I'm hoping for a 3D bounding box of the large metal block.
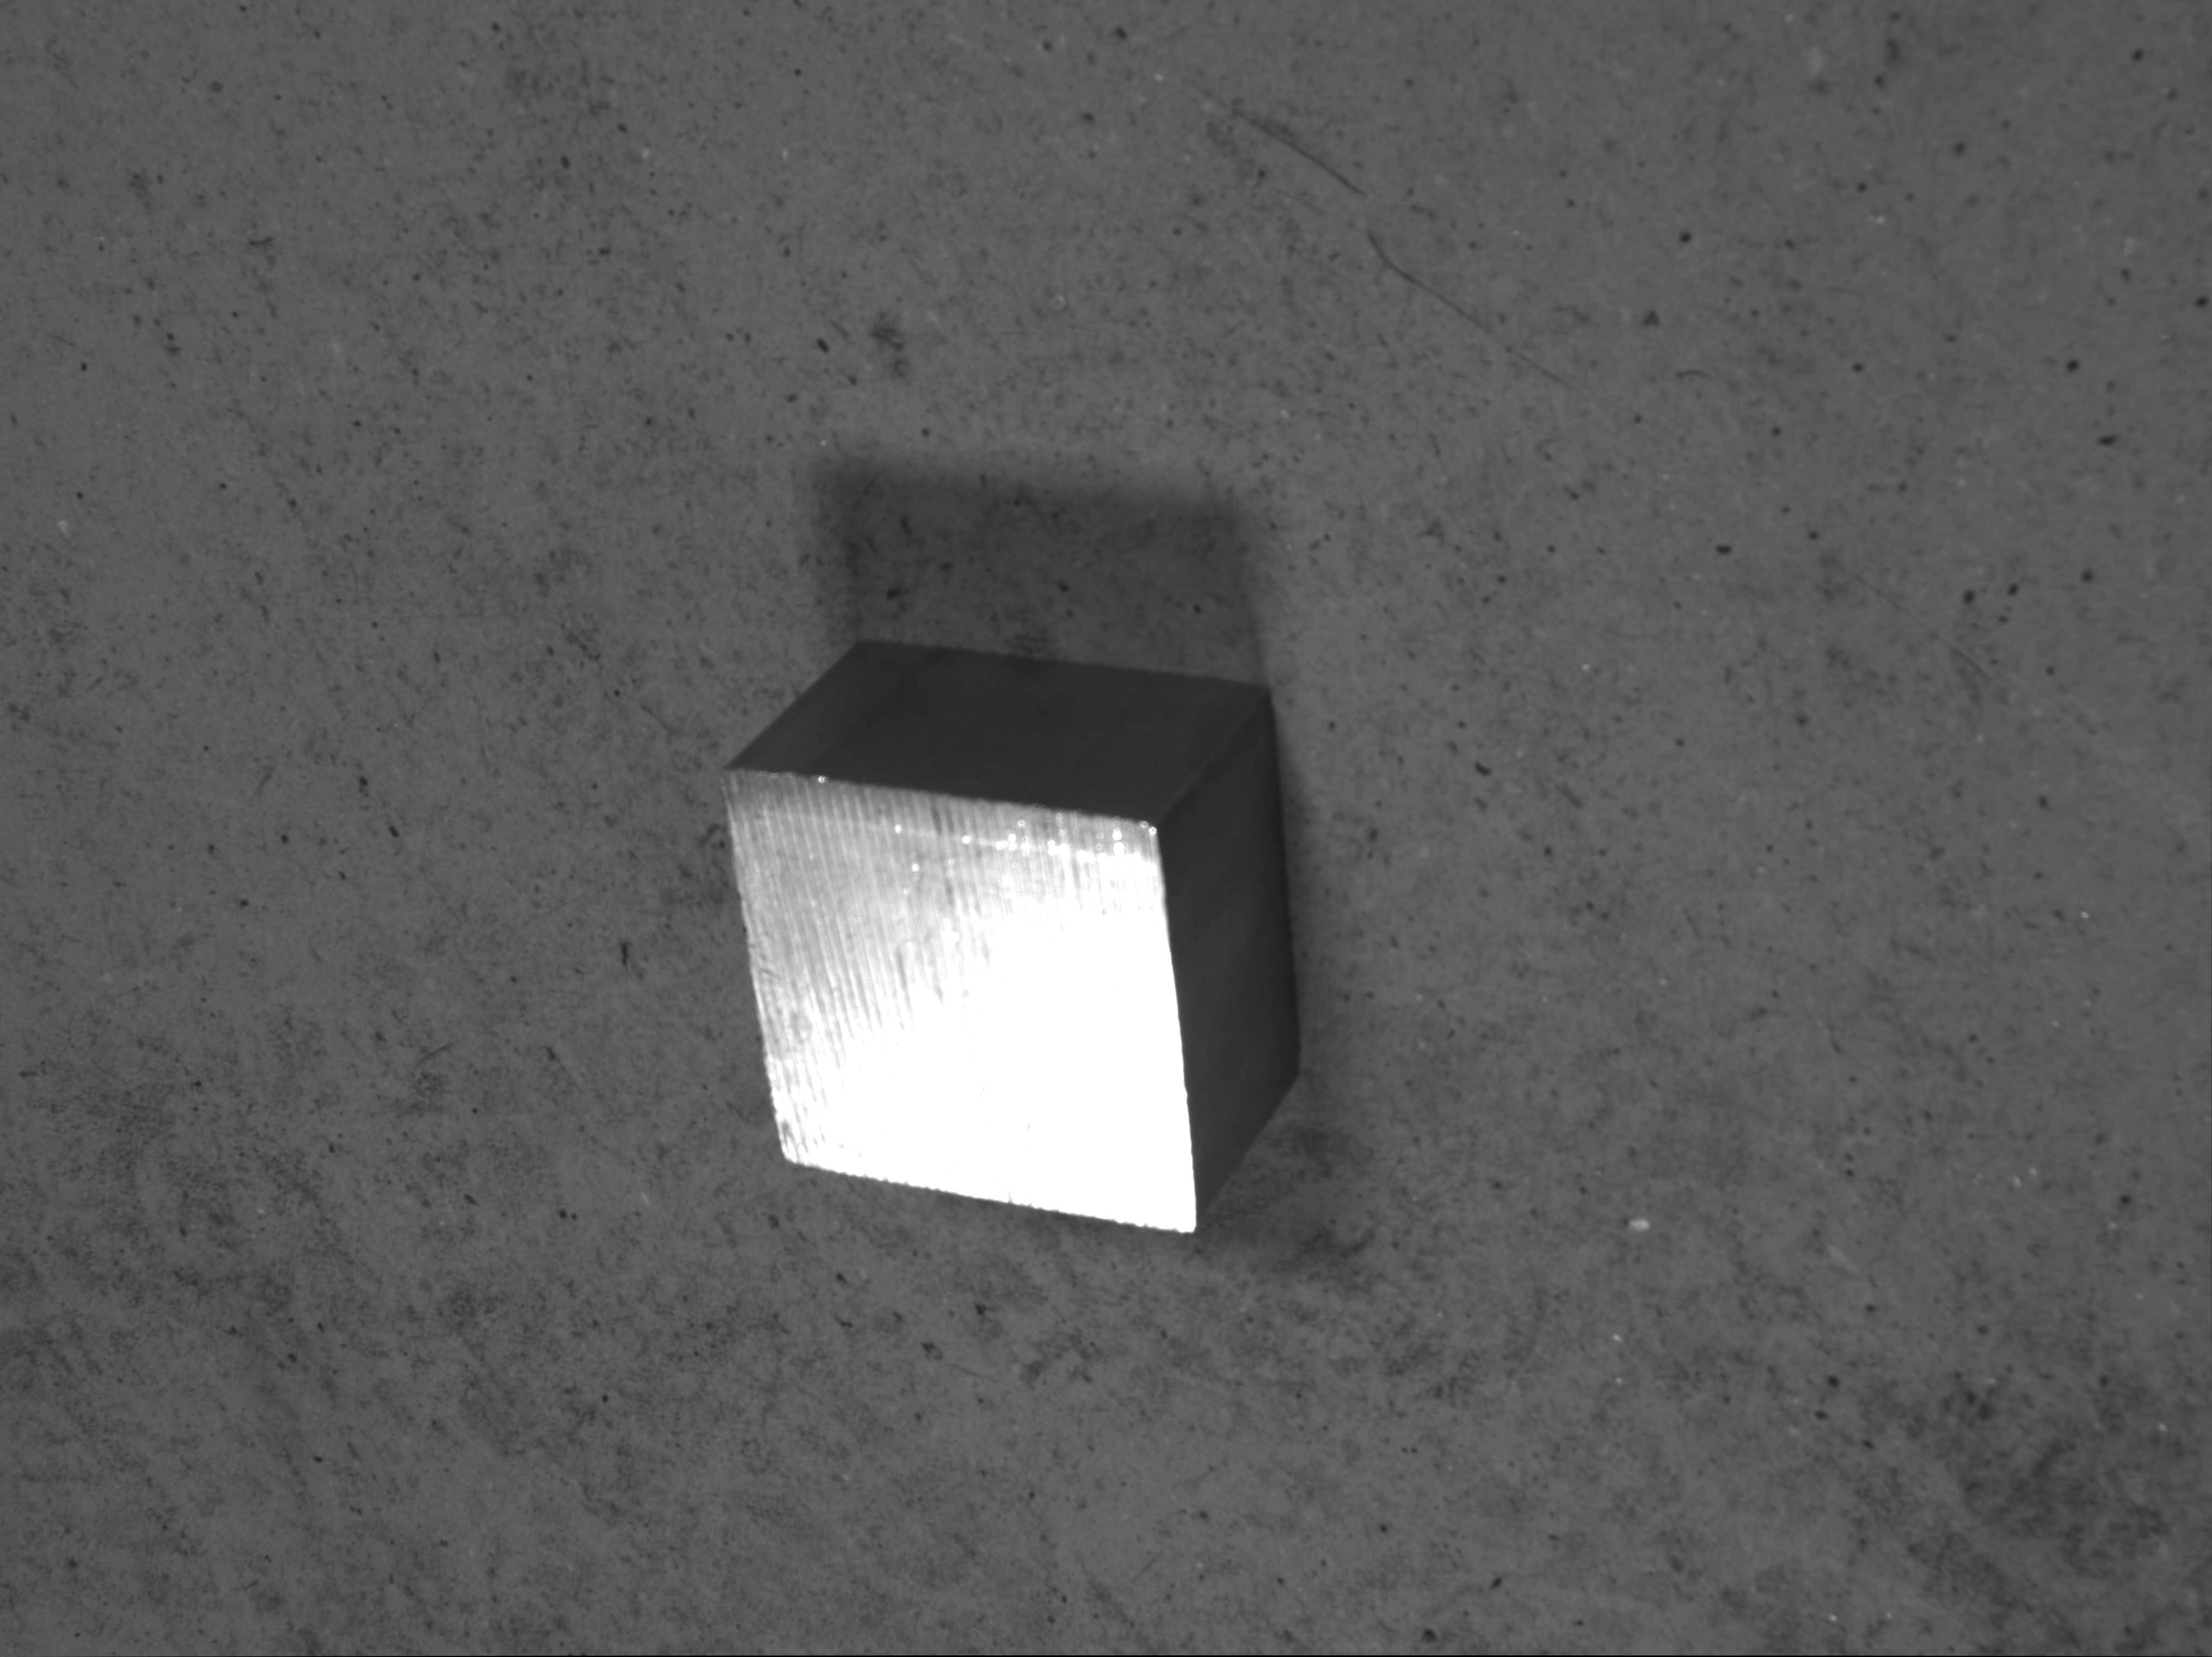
[{"bbox_3d":[-0.016,0.018,0.634,0.080,0.050,0.080,7,121,23],"label":"large metal block"}]
